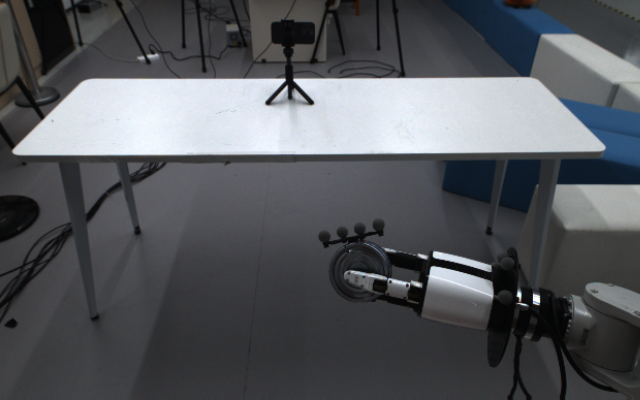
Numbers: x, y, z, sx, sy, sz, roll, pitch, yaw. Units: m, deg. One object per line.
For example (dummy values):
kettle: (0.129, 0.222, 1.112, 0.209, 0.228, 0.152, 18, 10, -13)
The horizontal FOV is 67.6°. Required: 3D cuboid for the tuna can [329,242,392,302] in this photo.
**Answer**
tuna can: (0.061, 0.105, 0.676, 0.085, 0.085, 0.034, 12, 3, 14)
